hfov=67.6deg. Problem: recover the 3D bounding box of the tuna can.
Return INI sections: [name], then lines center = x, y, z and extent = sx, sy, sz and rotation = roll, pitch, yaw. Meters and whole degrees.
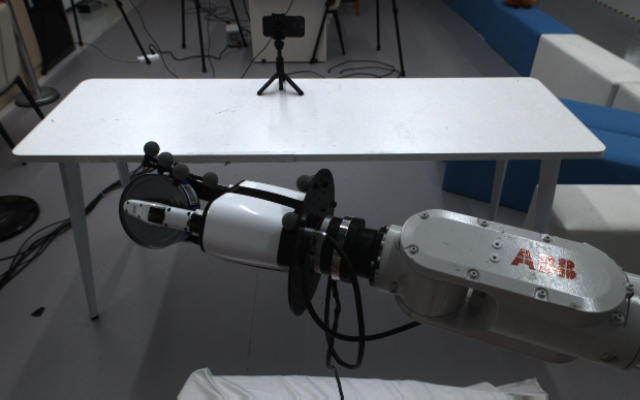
[tuna can]
center = -0.180, 0.016, 0.552
extent = 0.085, 0.085, 0.034
rotation = 10, 4, 11
